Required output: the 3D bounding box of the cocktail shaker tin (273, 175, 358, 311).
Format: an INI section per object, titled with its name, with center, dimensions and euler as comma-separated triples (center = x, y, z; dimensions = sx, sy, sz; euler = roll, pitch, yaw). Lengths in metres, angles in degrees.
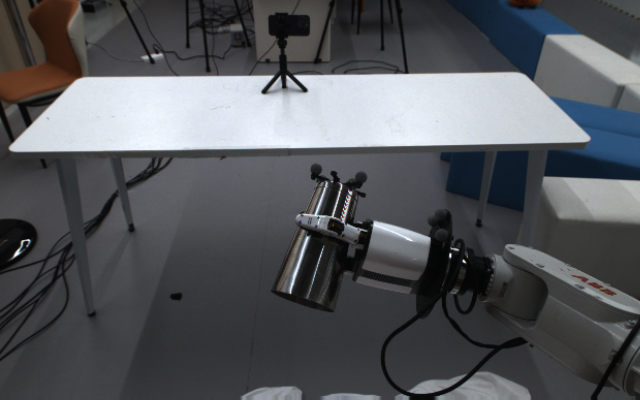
[cocktail shaker tin]
center = -0.001, 0.061, 0.685
dimensions = 0.093, 0.093, 0.170
euler = 13, 70, 15
